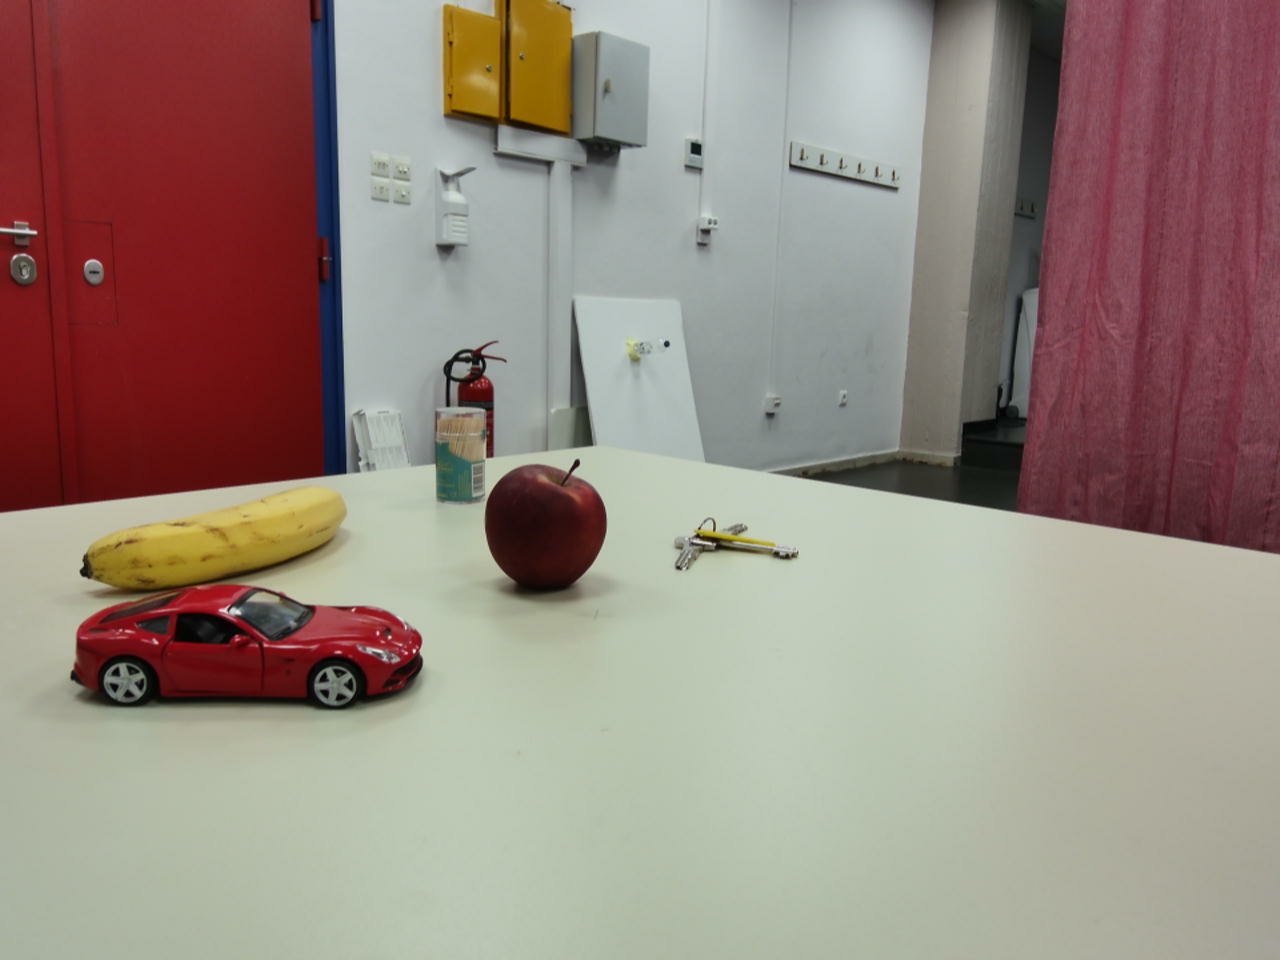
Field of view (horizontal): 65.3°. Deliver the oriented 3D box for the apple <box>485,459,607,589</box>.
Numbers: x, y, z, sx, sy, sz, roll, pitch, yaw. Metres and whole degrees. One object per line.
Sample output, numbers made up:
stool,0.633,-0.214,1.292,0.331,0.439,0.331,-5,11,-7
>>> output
apple,-0.054,0.026,0.576,0.070,0.072,0.070,0,8,0
